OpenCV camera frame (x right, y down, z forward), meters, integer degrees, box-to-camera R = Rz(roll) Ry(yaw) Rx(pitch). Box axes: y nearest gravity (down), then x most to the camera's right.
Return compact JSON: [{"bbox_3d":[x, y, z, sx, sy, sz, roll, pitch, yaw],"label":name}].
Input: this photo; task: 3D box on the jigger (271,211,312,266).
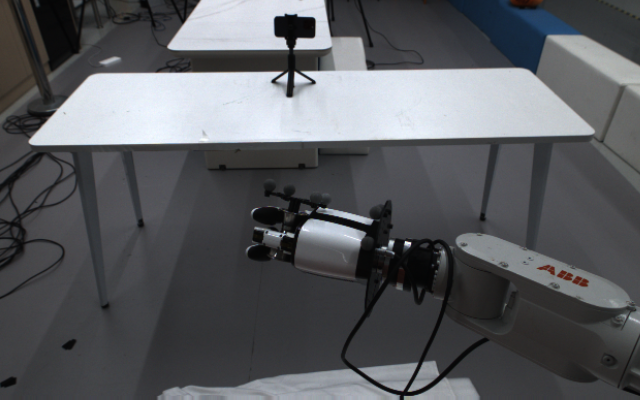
[{"bbox_3d":[-0.042,0.049,0.677,0.043,0.071,0.043,14,1,0],"label":"jigger"}]
